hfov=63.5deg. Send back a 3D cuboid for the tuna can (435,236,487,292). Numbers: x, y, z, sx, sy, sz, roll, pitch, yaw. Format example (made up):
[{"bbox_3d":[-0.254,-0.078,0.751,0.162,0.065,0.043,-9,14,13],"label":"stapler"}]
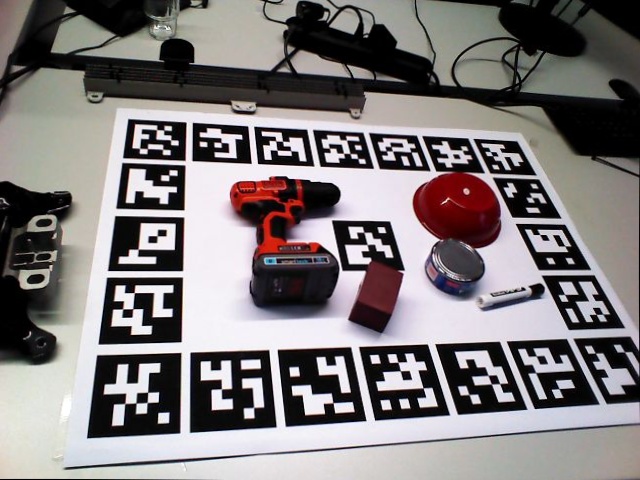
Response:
[{"bbox_3d":[0.222,0.038,0.795,0.086,0.034,0.085,8,49,-10],"label":"tuna can"}]

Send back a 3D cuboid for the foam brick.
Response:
[{"bbox_3d":[0.090,0.083,0.725,0.051,0.053,0.077,20,51,2],"label":"foam brick"}]

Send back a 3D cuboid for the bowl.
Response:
[{"bbox_3d":[0.253,-0.063,0.885,0.162,0.055,0.160,4,44,-4],"label":"bowl"}]

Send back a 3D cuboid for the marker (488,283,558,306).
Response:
[{"bbox_3d":[0.312,0.082,0.787,0.121,0.020,0.019,-8,55,-19],"label":"marker"}]

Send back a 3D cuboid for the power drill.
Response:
[{"bbox_3d":[-0.037,-0.008,0.765,0.184,0.058,0.186,1,48,-16],"label":"power drill"}]
